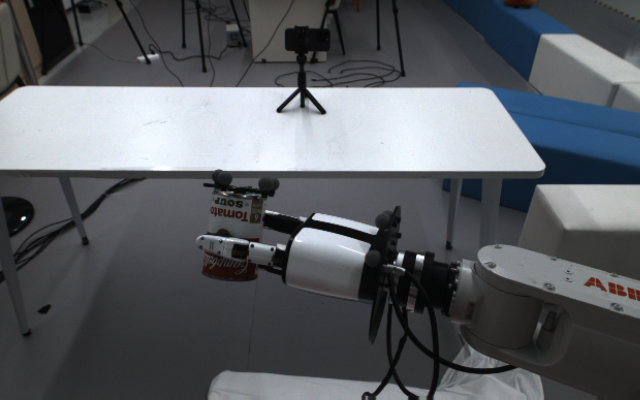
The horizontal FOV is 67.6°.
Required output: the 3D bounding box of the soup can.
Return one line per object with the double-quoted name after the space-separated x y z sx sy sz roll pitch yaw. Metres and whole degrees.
-0.101 0.041 0.587 0.067 0.101 0.067 7 4 0 "soup can"
